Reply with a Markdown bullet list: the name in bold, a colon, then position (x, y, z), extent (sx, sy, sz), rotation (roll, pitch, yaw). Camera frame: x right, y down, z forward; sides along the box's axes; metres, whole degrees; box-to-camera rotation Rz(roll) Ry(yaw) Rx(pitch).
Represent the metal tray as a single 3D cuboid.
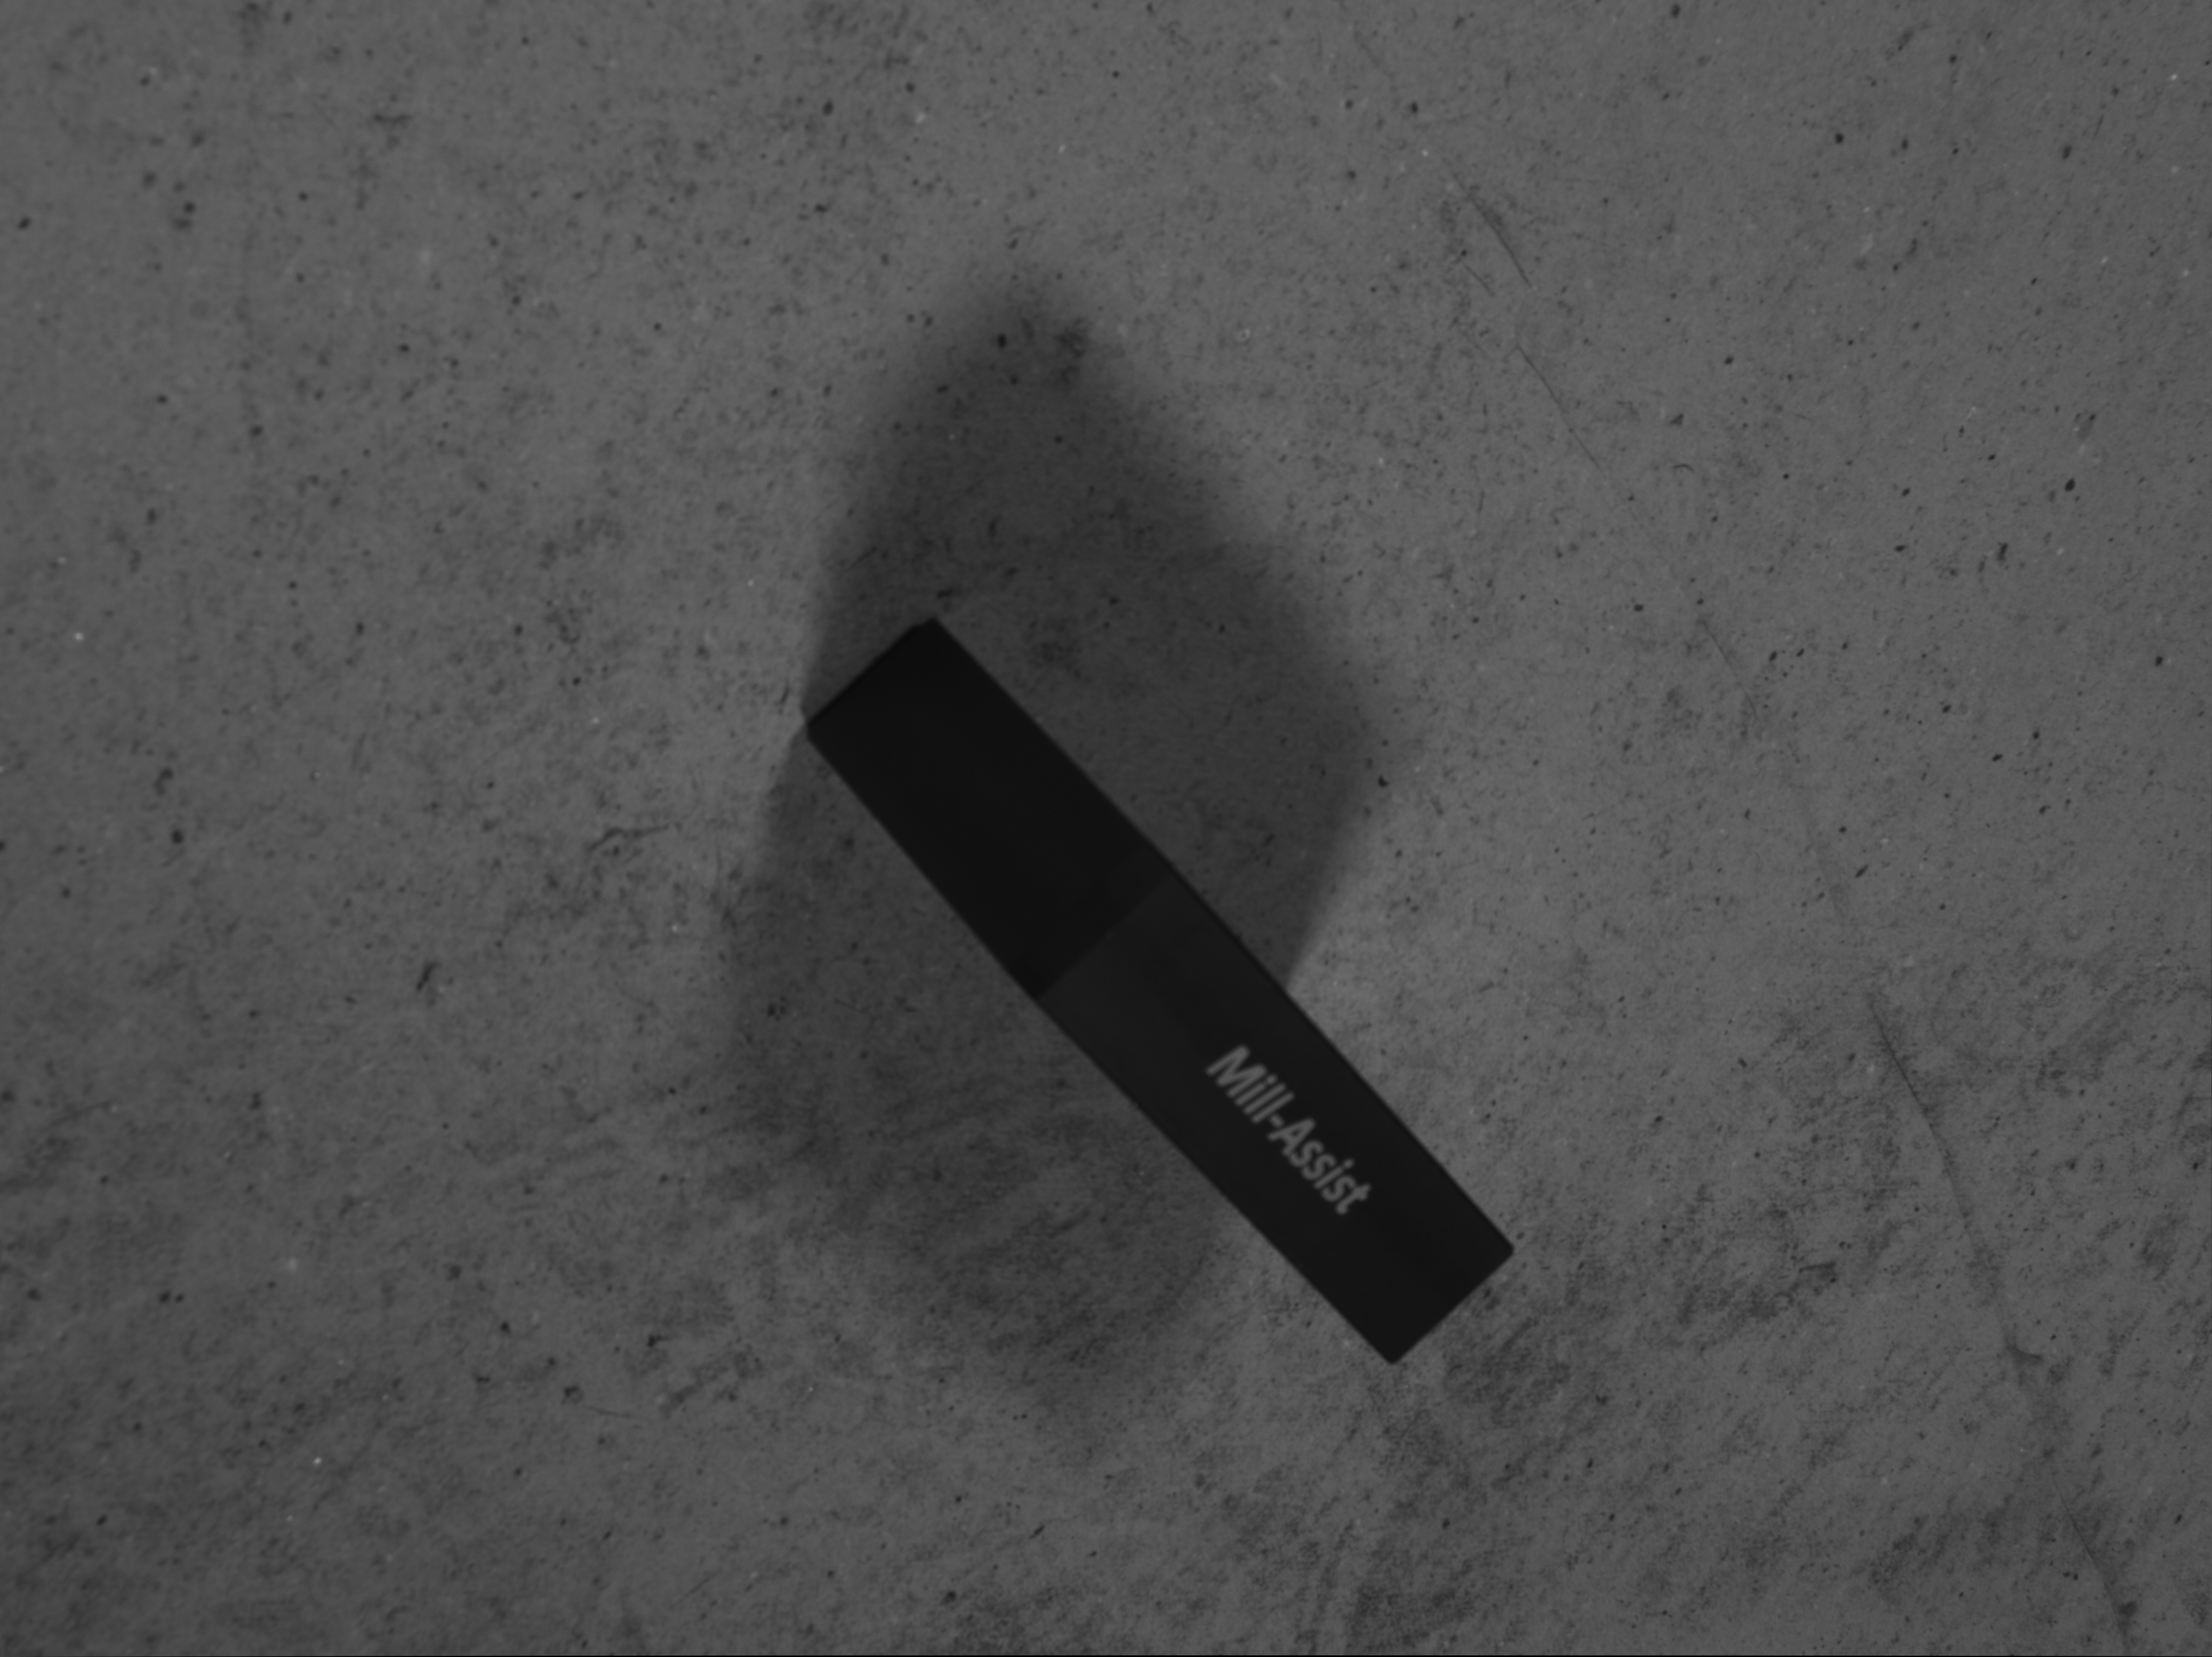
- **metal tray**: position (0.017, 0.030, 0.637), extent (0.030, 0.090, 0.130), rotation (-43, 130, 0)
